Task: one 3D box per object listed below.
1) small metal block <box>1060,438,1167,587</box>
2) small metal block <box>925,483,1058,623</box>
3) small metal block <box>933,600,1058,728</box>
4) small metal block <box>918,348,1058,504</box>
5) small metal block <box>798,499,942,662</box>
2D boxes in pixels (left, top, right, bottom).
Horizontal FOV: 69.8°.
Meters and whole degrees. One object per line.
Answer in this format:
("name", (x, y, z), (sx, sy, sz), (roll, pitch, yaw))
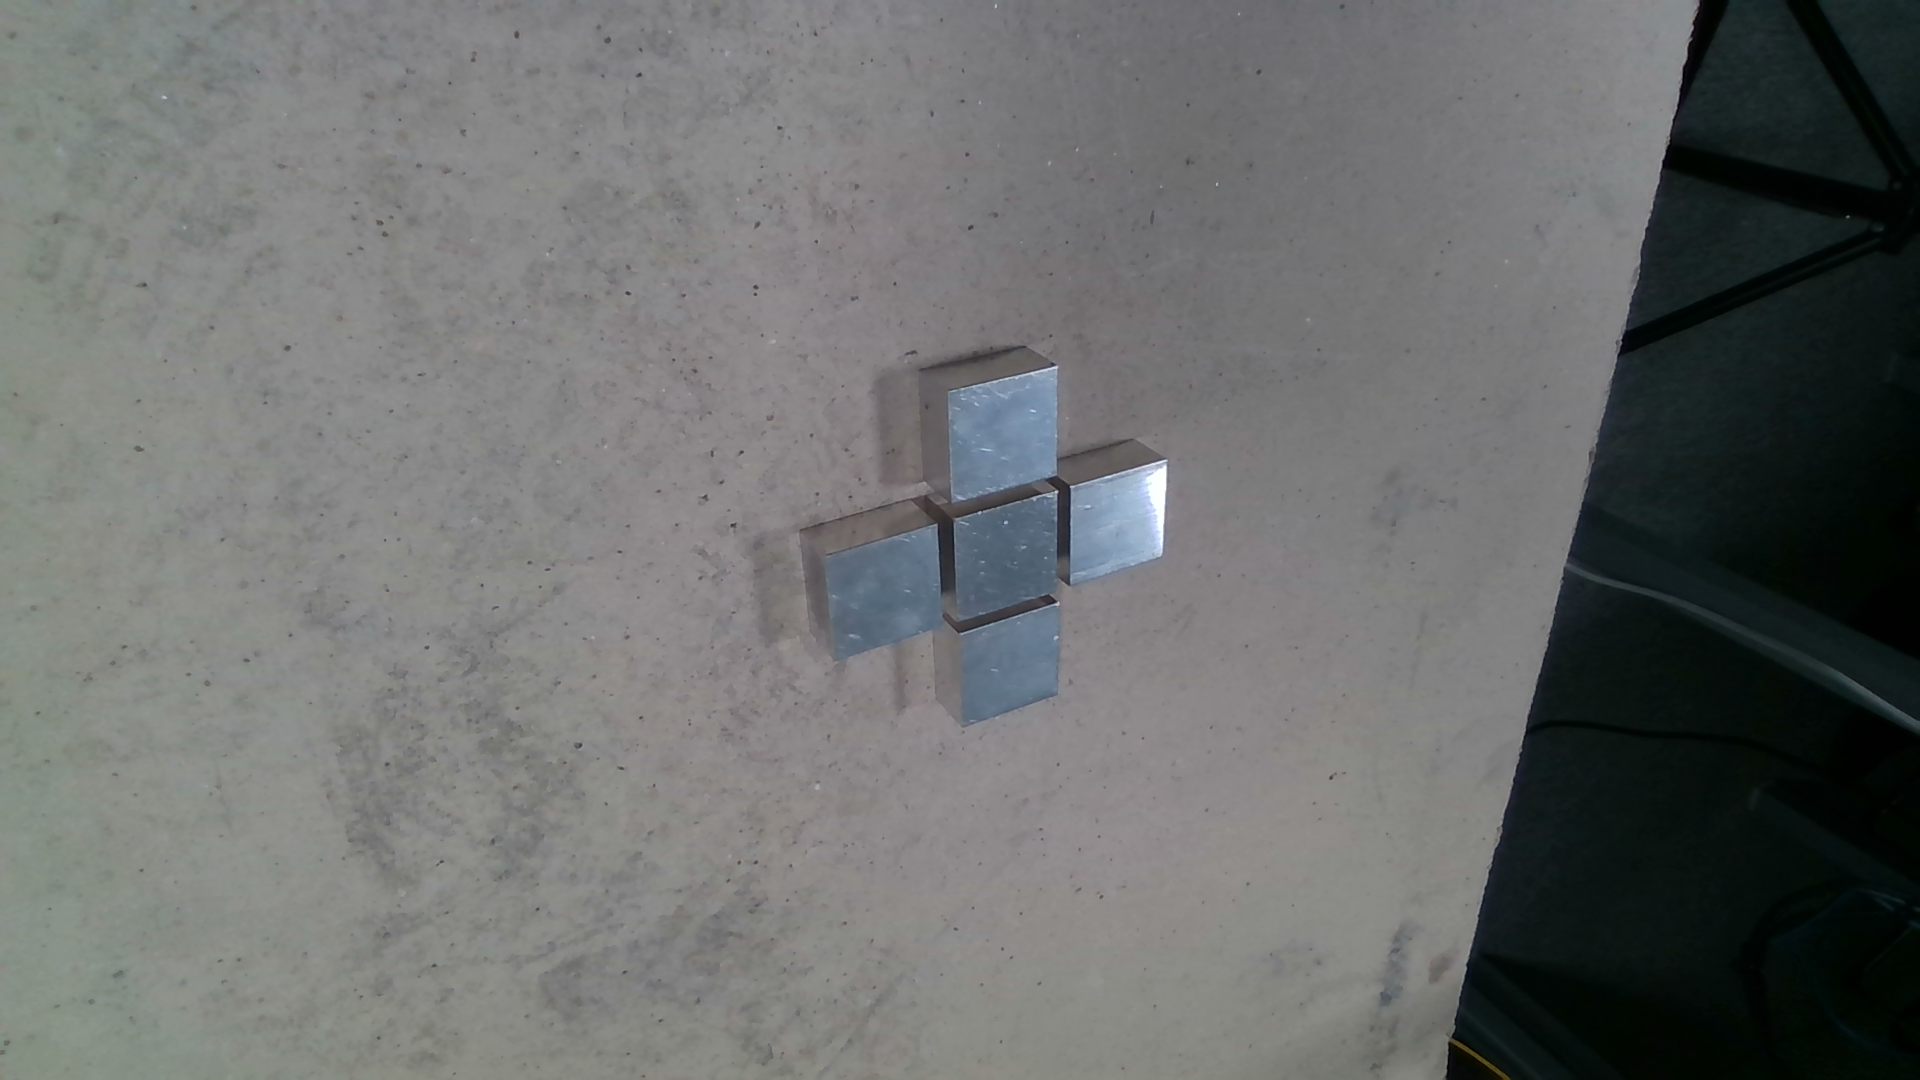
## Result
("small metal block", (0.063, -0.013, 0.613), (0.050, 0.025, 0.050), (-16, 122, -24))
("small metal block", (0.014, 0.002, 0.590), (0.050, 0.025, 0.050), (-16, 122, -24))
("small metal block", (0.016, 0.050, 0.618), (0.050, 0.025, 0.050), (-16, 122, -24))
("small metal block", (0.012, -0.048, 0.562), (0.050, 0.025, 0.050), (-16, 122, -24))
("small metal block", (-0.036, 0.016, 0.567), (0.050, 0.025, 0.050), (-16, 122, -24))
